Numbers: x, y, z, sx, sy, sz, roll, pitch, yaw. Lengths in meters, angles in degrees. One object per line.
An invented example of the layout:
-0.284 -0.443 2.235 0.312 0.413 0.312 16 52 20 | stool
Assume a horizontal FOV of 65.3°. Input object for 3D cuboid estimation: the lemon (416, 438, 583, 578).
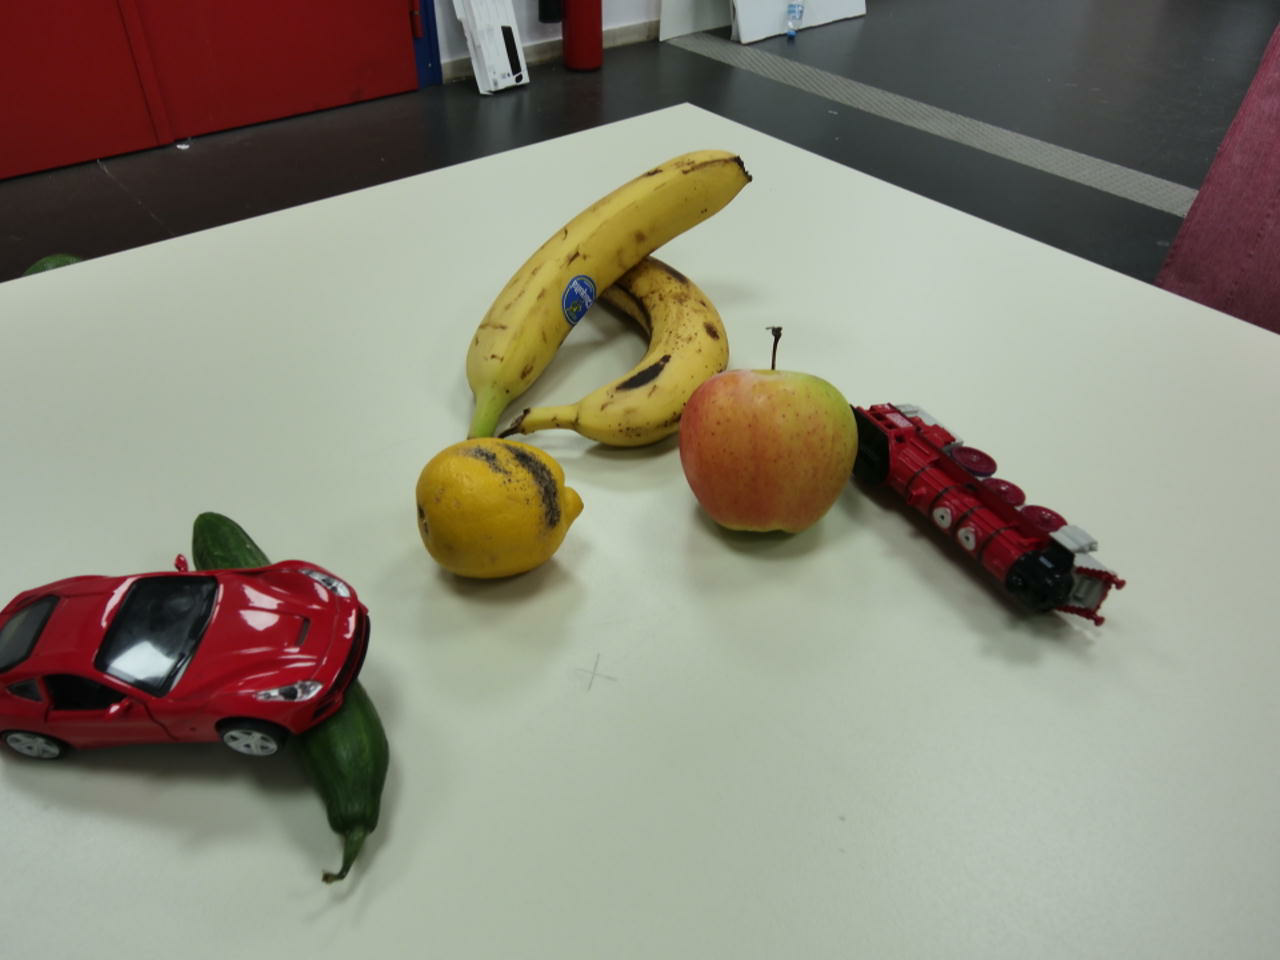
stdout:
-0.059 0.011 0.398 0.058 0.056 0.061 29 45 32 | lemon
